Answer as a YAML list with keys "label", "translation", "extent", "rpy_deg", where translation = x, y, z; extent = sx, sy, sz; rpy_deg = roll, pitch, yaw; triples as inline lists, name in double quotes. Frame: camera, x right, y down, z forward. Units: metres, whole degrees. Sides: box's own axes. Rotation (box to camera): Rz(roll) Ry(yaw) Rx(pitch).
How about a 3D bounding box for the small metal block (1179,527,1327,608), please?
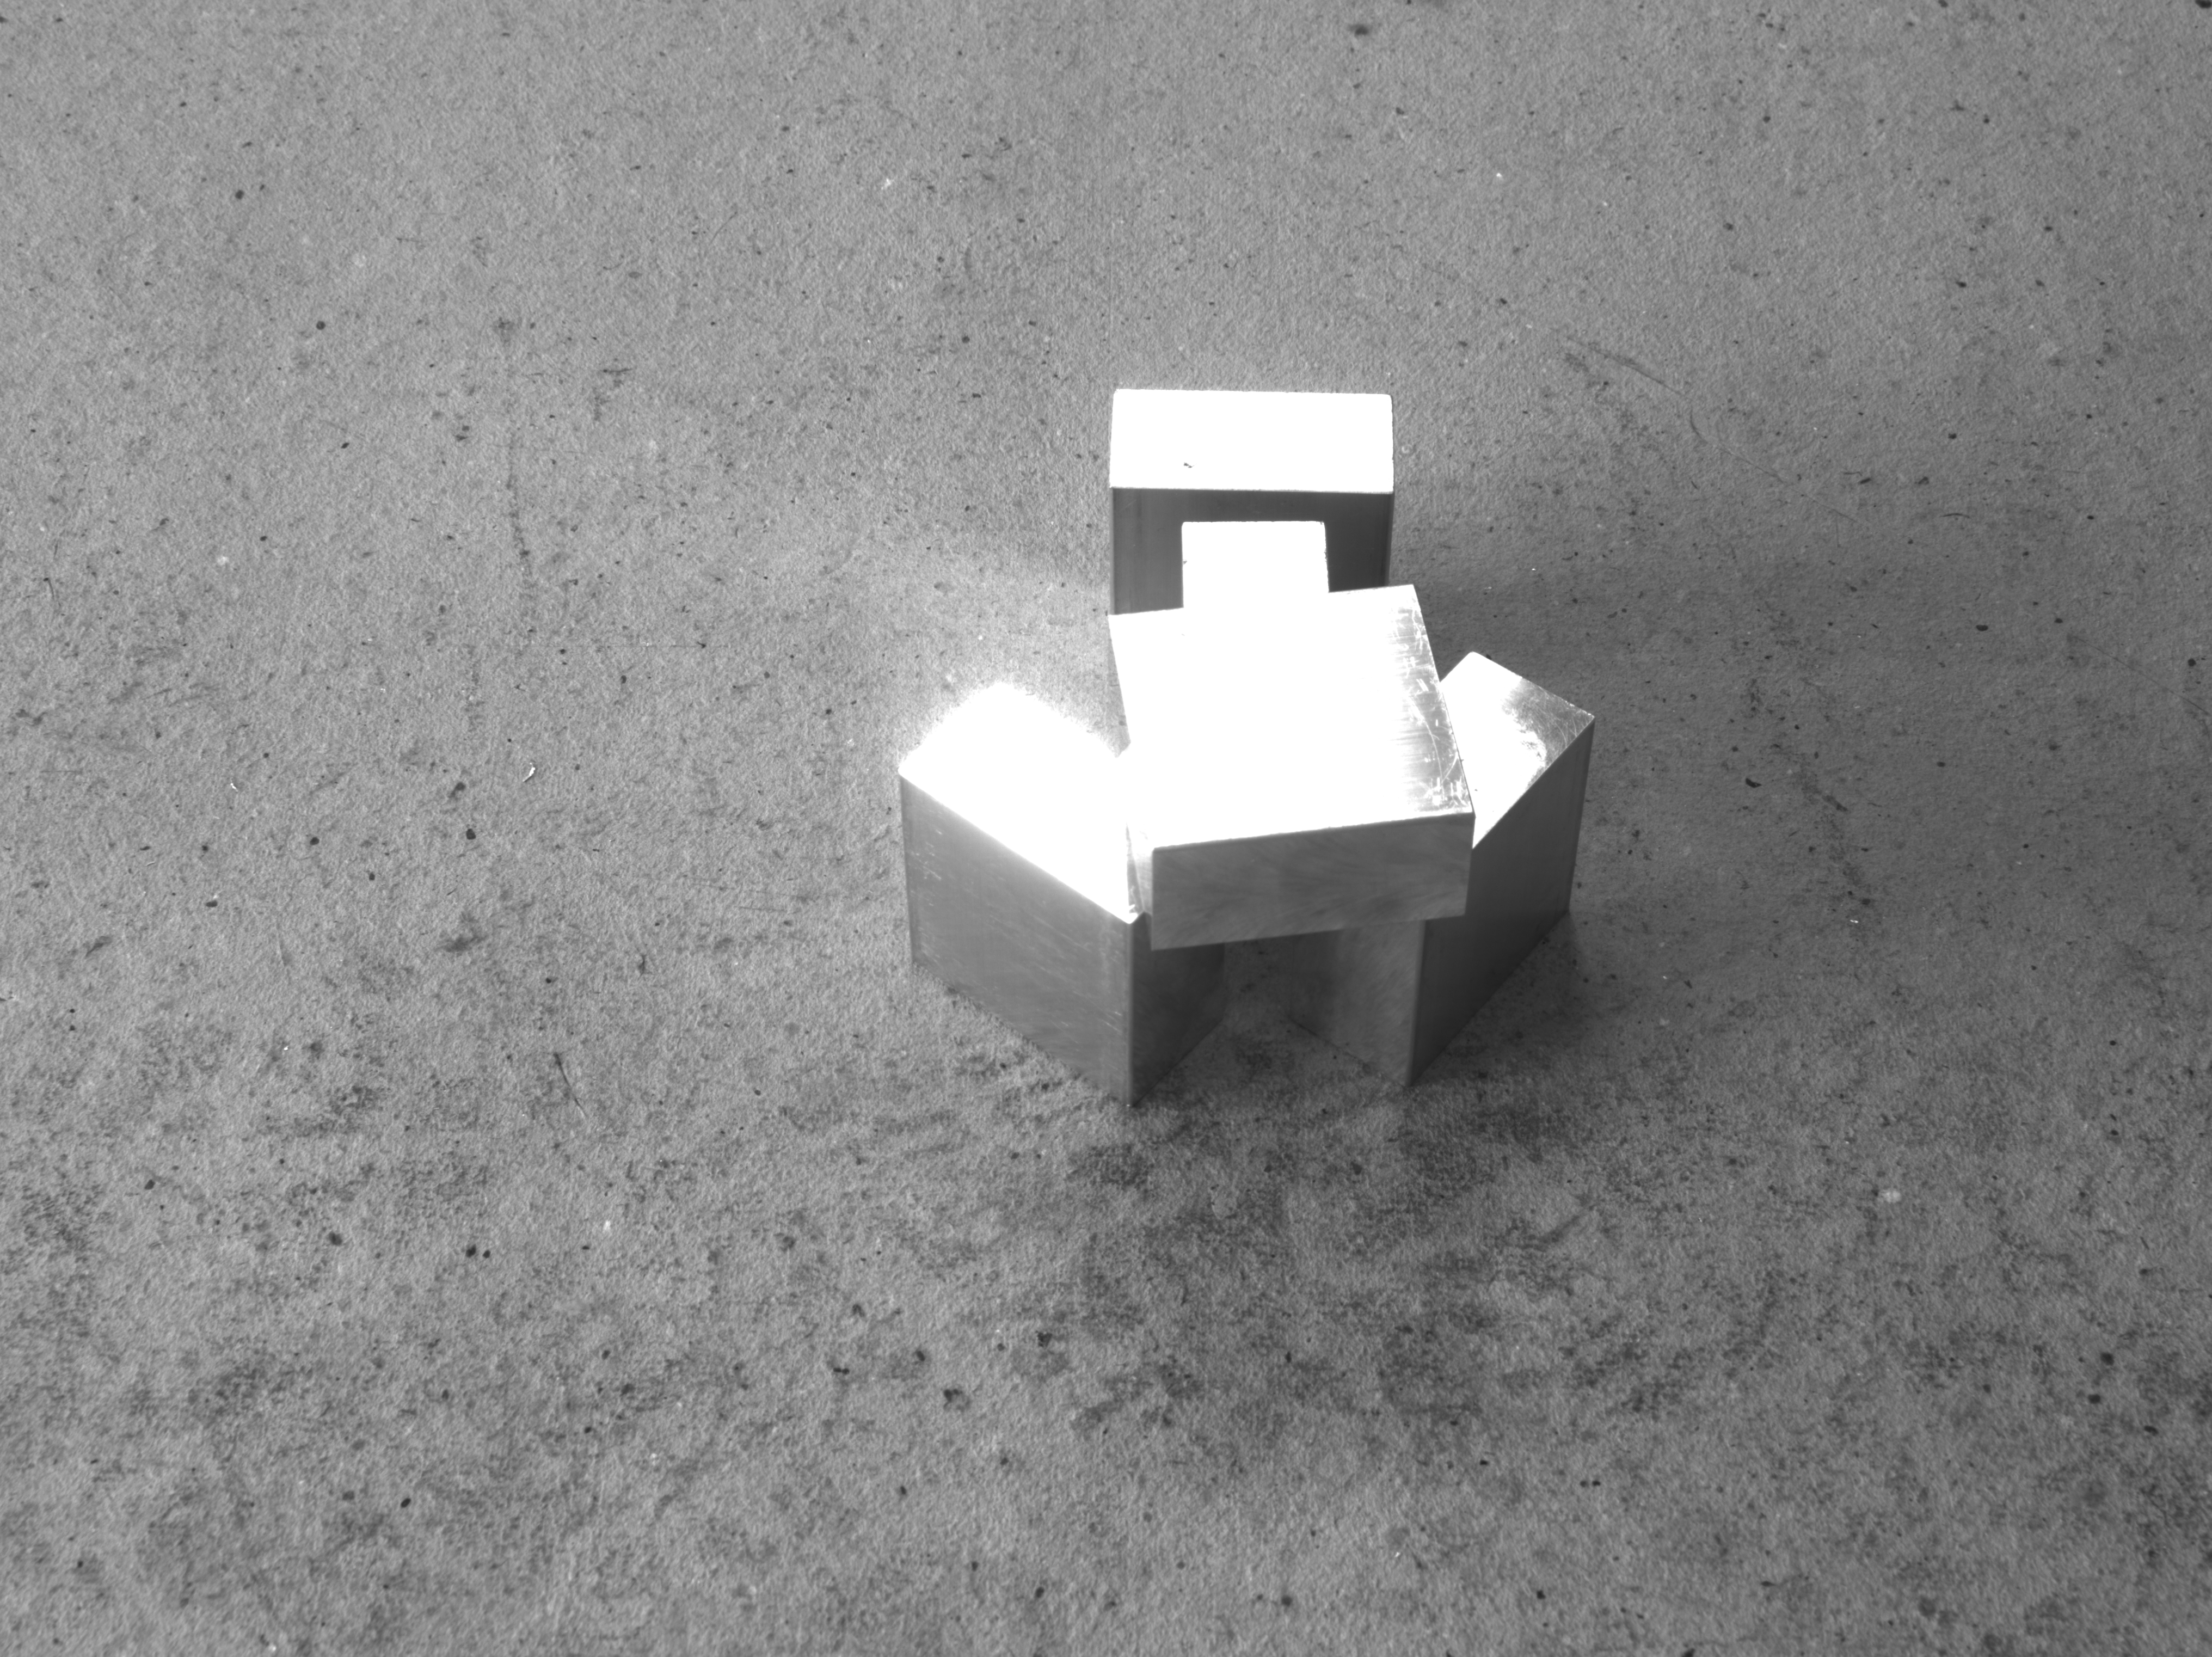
- label: "small metal block"
  translation: [0.025, -0.017, 0.642]
  extent: [0.025, 0.050, 0.050]
  rpy_deg: [0, 49, -1]

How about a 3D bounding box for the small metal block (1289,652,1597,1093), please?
- label: "small metal block"
  translation: [0.056, 0.007, 0.621]
  extent: [0.025, 0.050, 0.050]
  rpy_deg: [30, 56, 23]

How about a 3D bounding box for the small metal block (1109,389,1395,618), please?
- label: "small metal block"
  translation: [0.026, -0.052, 0.671]
  extent: [0.050, 0.050, 0.025]
  rpy_deg: [1, 50, 1]

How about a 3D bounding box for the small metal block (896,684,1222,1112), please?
- label: "small metal block"
  translation: [-0.007, 0.012, 0.616]
  extent: [0.050, 0.050, 0.025]
  rpy_deg: [33, 57, 24]

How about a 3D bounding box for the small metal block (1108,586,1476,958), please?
- label: "small metal block"
  translation: [0.029, -0.009, 0.587]
  extent: [0.050, 0.025, 0.050]
  rpy_deg: [-6, 50, -5]
